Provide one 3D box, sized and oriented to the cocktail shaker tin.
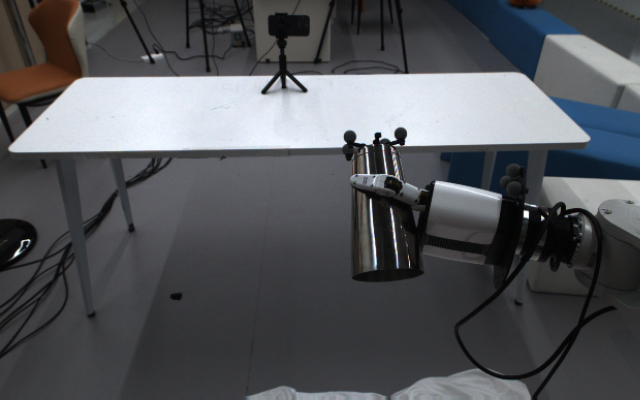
[{"bbox_3d":[0.082,0.016,0.641,0.093,0.093,0.170,-2,71,-6],"label":"cocktail shaker tin"}]
